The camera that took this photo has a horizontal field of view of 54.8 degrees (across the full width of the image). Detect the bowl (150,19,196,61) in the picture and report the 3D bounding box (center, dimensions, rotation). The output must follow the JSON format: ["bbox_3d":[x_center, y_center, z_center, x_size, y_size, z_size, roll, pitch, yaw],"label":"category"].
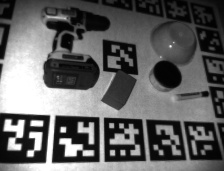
[{"bbox_3d":[0.204,-0.156,0.675,0.162,0.055,0.161,7,60,-12],"label":"bowl"}]

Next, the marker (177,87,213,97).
[{"bbox_3d":[0.242,0.017,0.624,0.122,0.019,0.019,-5,72,-21],"label":"marker"}]

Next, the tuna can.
[{"bbox_3d":[0.160,-0.040,0.612,0.086,0.033,0.085,8,66,-18],"label":"tuna can"}]

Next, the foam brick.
[{"bbox_3d":[0.024,0.005,0.545,0.051,0.052,0.078,27,64,-7],"label":"foam brick"}]

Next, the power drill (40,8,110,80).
[{"bbox_3d":[-0.089,-0.109,0.548,0.186,0.057,0.186,5,65,-21],"label":"power drill"}]
